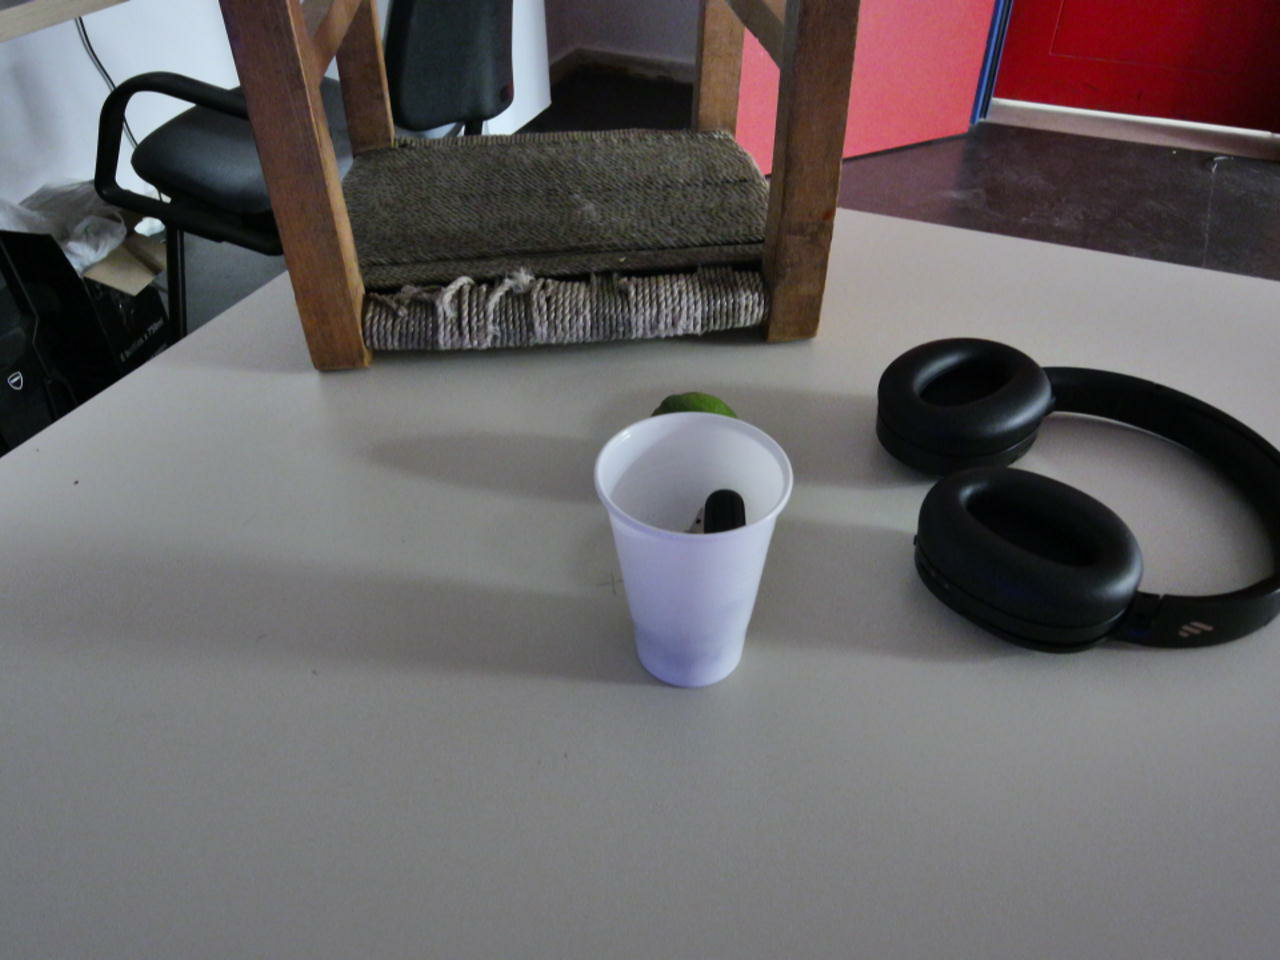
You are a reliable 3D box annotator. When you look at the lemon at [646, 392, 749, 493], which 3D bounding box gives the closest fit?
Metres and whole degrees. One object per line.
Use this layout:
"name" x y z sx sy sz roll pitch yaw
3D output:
"lemon" 0.031 -0.021 0.537 0.057 0.051 0.054 14 40 17
